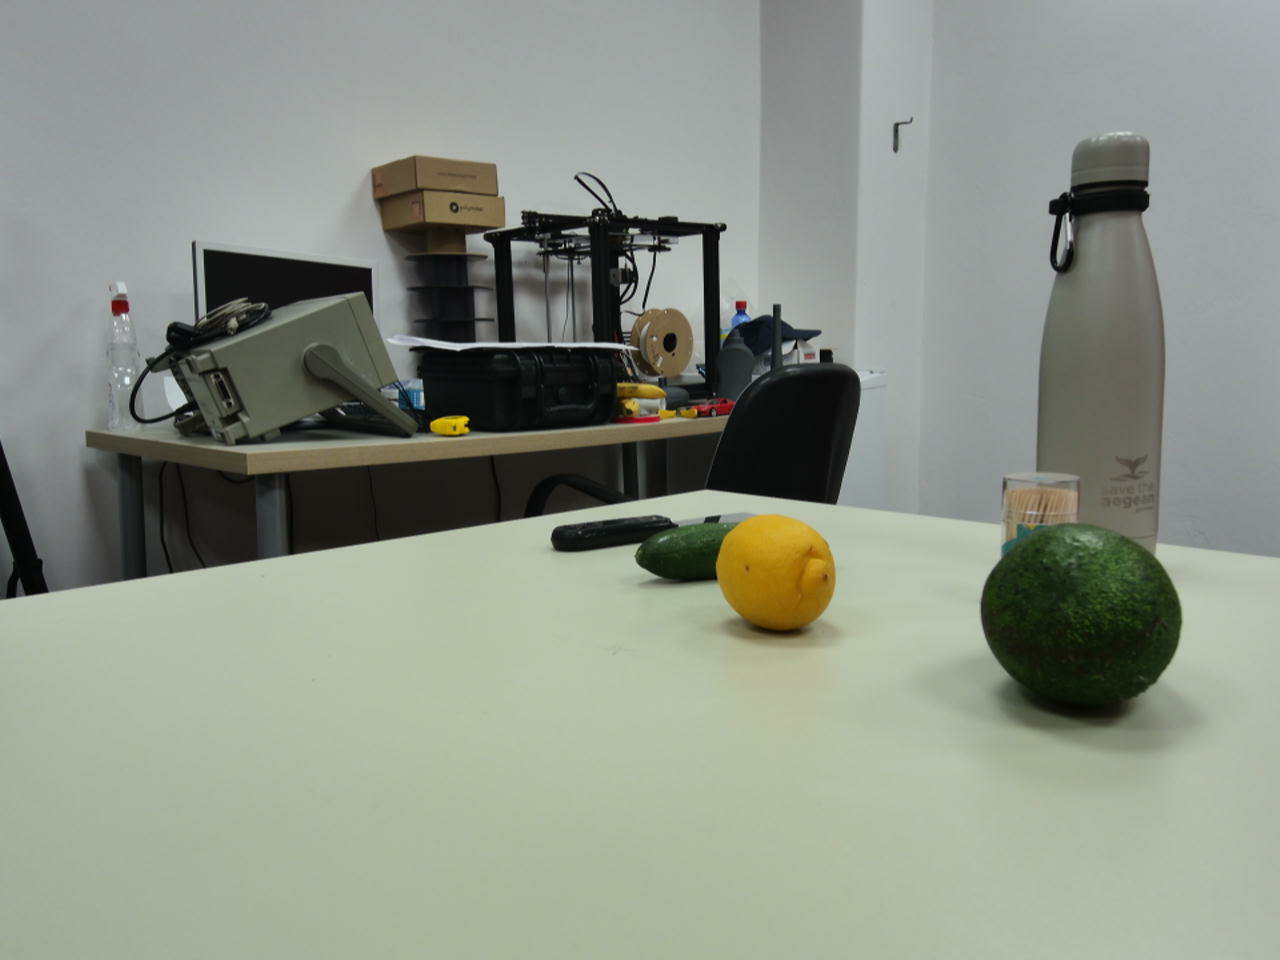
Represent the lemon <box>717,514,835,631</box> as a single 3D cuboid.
[{"bbox_3d":[0.072,0.049,0.533,0.061,0.059,0.067,0,5,0],"label":"lemon"}]
